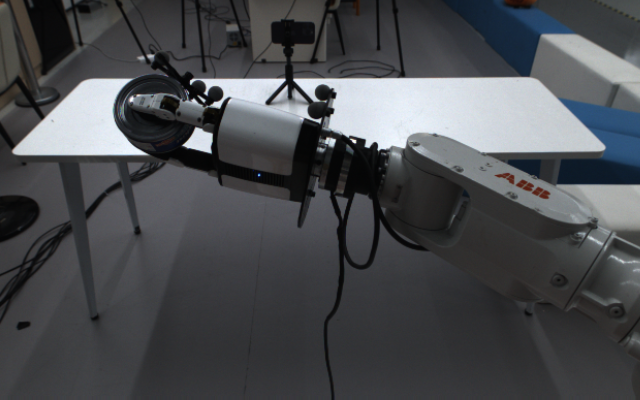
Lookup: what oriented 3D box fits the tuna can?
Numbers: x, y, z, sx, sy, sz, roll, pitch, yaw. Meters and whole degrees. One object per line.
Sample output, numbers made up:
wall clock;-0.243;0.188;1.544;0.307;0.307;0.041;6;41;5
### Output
tuna can;-0.184;-0.098;0.547;0.085;0.034;0.085;0;74;-1
